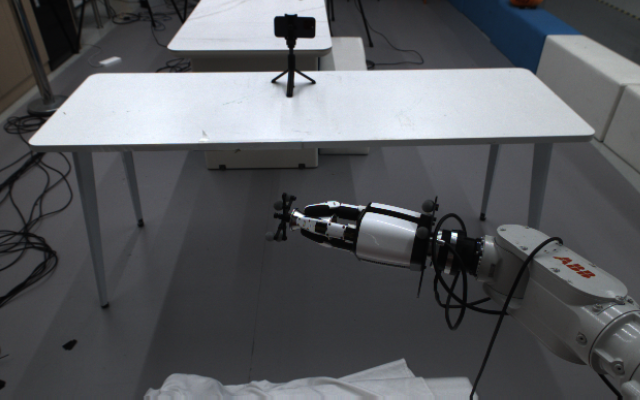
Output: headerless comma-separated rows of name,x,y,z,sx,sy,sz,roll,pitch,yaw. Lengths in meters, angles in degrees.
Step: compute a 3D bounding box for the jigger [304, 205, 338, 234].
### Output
jigger,-0.005,0.034,0.787,0.071,0.043,0.043,11,36,16
